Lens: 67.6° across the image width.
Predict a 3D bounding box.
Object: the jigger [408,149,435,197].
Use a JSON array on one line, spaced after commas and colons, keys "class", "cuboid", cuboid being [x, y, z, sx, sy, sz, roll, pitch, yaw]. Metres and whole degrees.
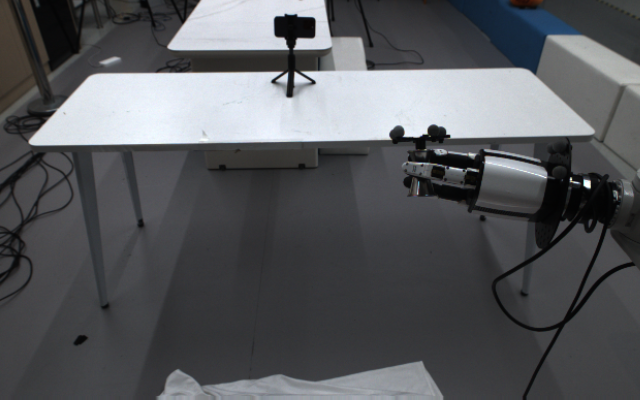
[{"class": "jigger", "cuboid": [0.149, -0.041, 0.719, 0.043, 0.071, 0.043, -2, 3, 0]}]
